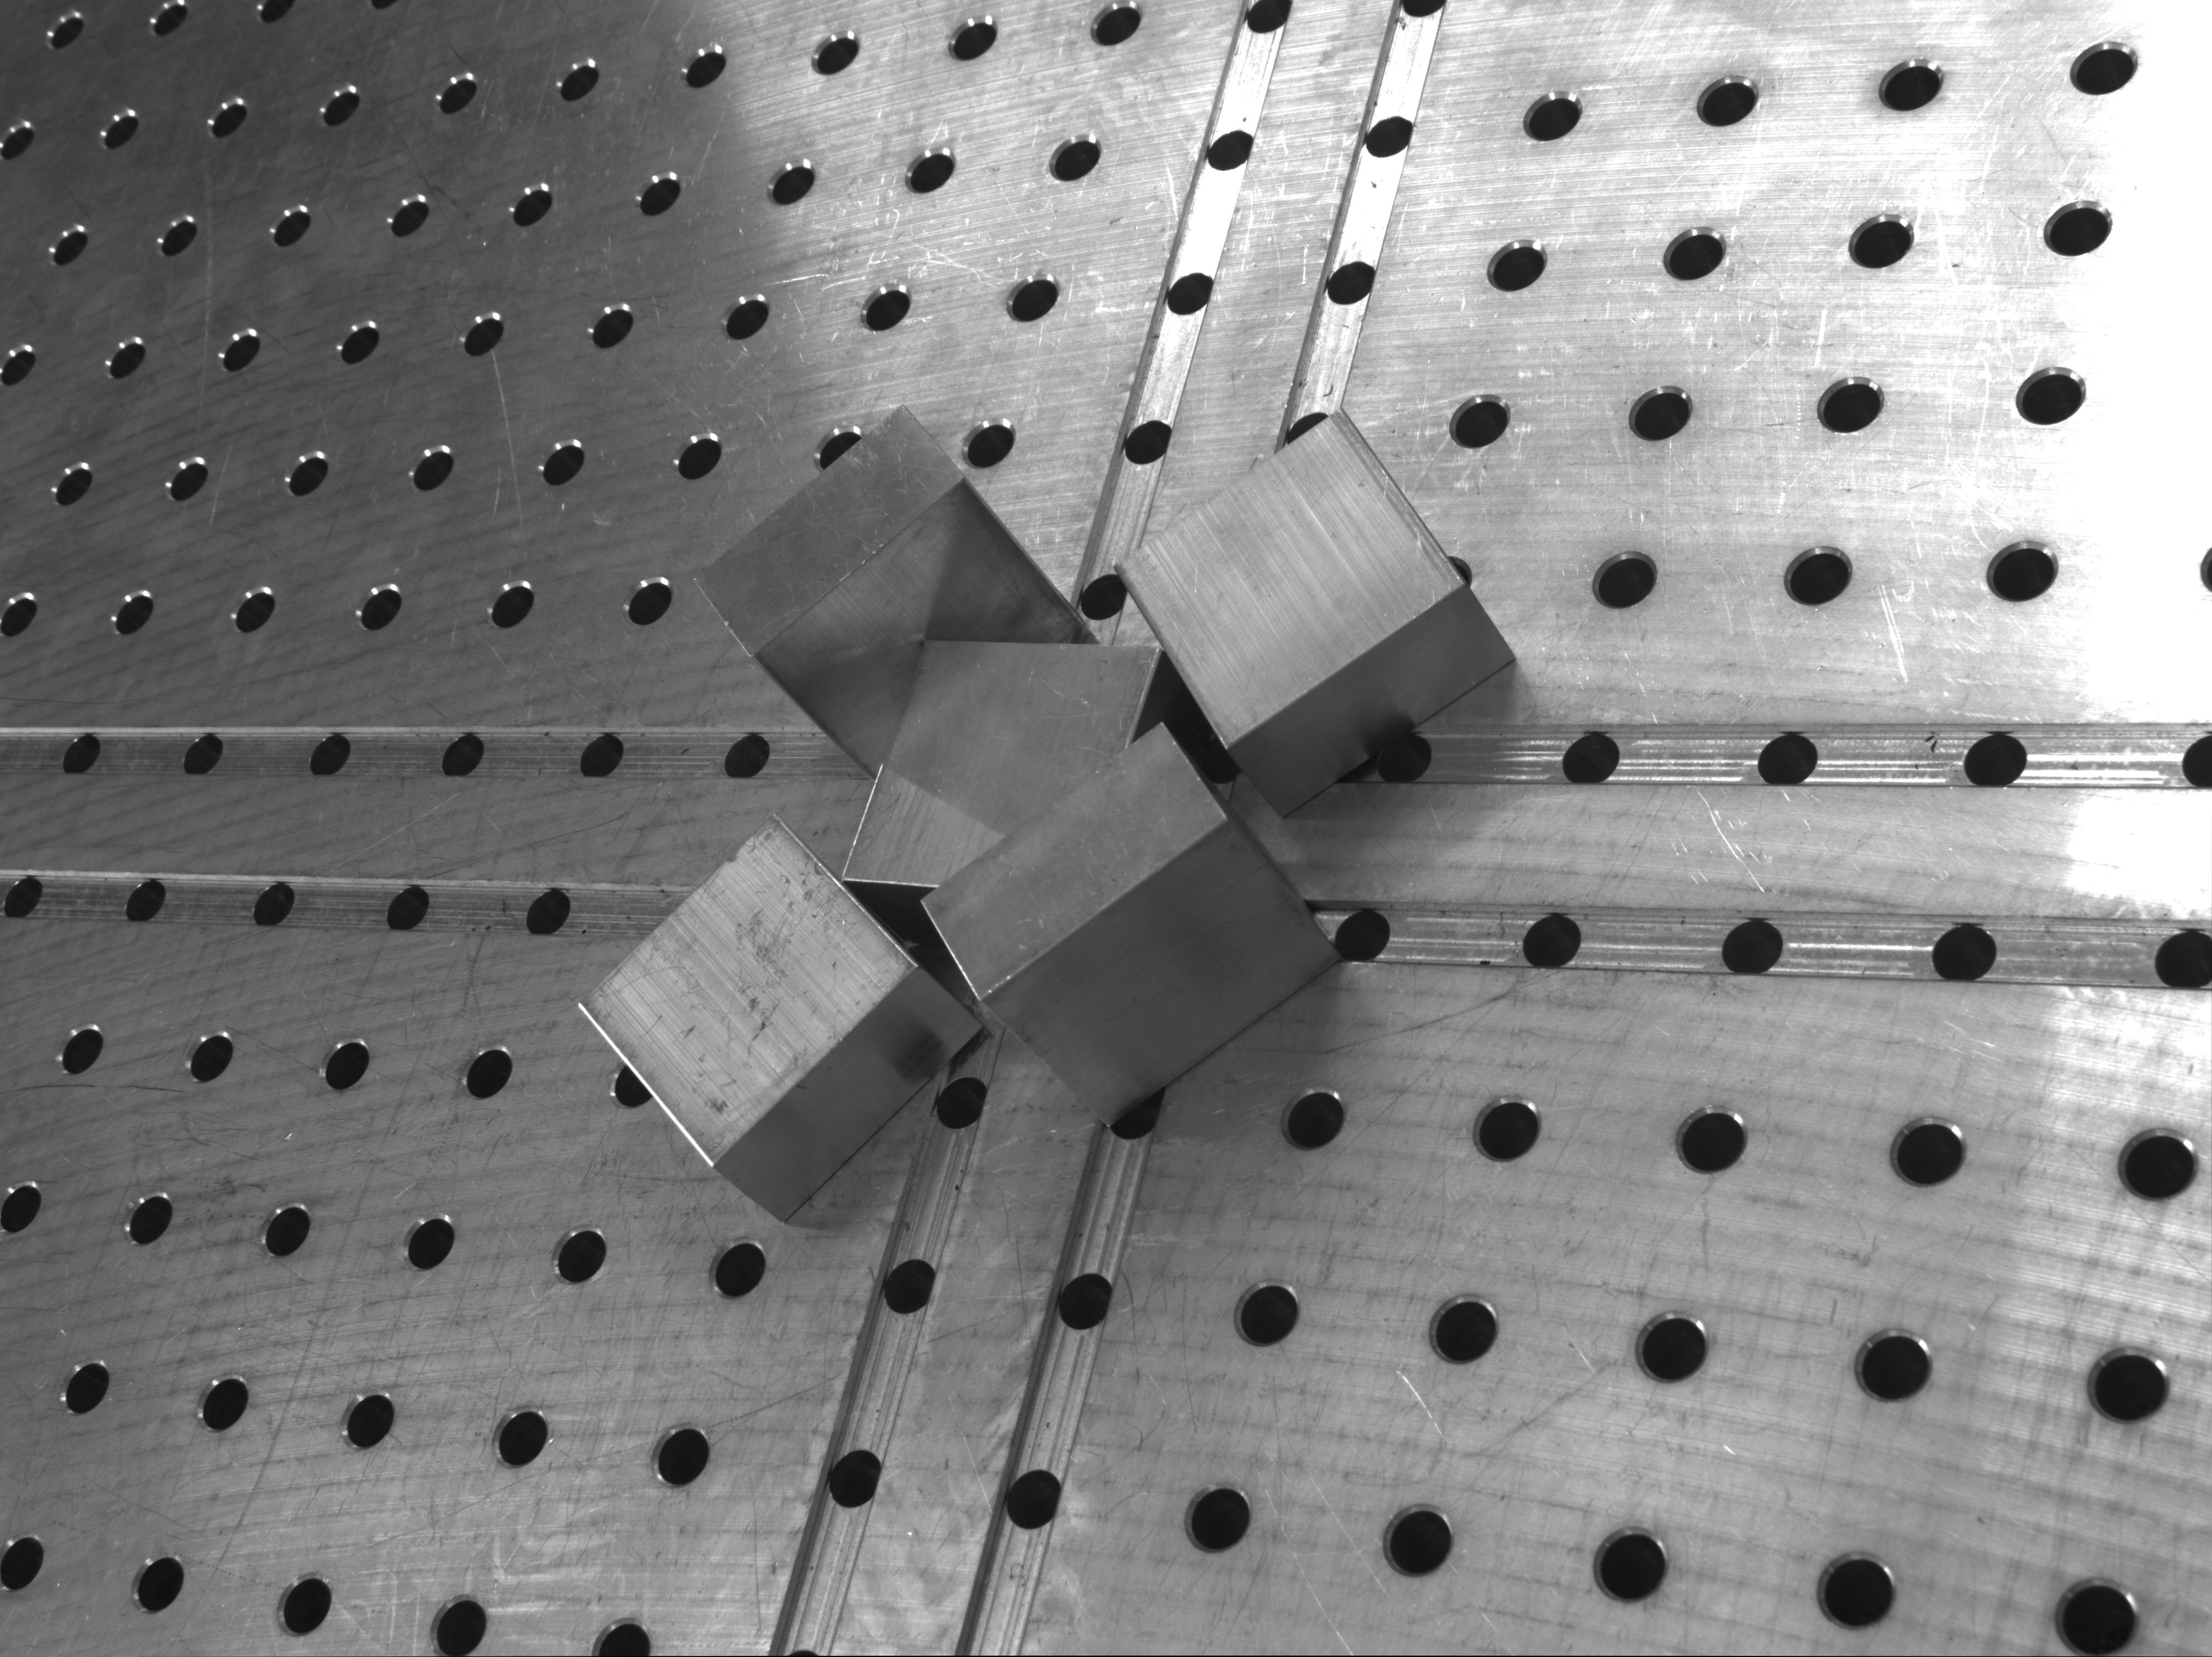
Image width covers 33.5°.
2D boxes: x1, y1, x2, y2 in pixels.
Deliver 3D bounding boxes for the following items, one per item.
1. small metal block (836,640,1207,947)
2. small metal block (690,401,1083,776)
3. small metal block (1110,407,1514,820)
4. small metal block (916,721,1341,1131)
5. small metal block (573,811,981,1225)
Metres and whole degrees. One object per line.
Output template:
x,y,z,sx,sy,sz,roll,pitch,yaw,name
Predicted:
-0.014,-0.006,0.659,0.050,0.025,0.050,3,62,31,small metal block
-0.040,-0.043,0.680,0.050,0.050,0.025,-40,51,2,small metal block
0.036,-0.038,0.653,0.050,0.025,0.050,-35,51,6,small metal block
0.004,0.017,0.619,0.050,0.050,0.025,-36,50,4,small metal block
-0.059,0.034,0.660,0.050,0.025,0.050,-44,51,-3,small metal block
